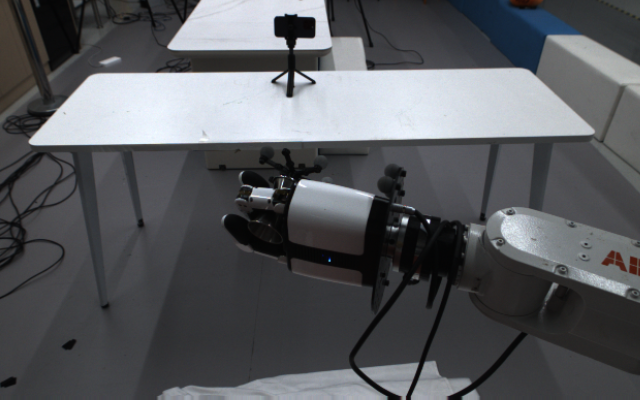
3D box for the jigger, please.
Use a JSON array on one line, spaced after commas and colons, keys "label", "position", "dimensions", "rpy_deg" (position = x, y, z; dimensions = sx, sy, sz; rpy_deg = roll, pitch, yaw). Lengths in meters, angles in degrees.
[{"label": "jigger", "position": [-0.046, 0.010, 0.552], "dimensions": [0.043, 0.043, 0.071], "rpy_deg": [13, 58, 16]}]
